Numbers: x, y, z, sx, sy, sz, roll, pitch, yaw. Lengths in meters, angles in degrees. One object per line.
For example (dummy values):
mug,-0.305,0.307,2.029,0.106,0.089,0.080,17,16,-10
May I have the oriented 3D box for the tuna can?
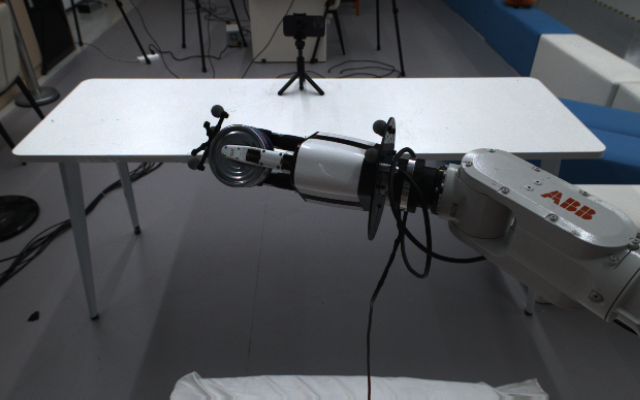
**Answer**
tuna can,-0.104,-0.056,0.655,0.085,0.085,0.034,9,5,10
